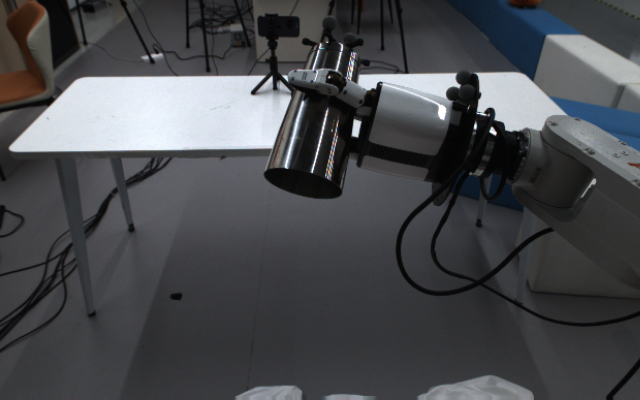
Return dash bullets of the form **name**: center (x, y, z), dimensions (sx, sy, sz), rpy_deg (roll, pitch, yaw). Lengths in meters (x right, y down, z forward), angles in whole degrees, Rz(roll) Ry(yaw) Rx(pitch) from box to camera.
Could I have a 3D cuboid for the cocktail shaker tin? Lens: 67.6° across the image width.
- **cocktail shaker tin**: center (-0.001, -0.096, 0.572), dimensions (0.093, 0.093, 0.170), rpy_deg (11, 73, 12)
